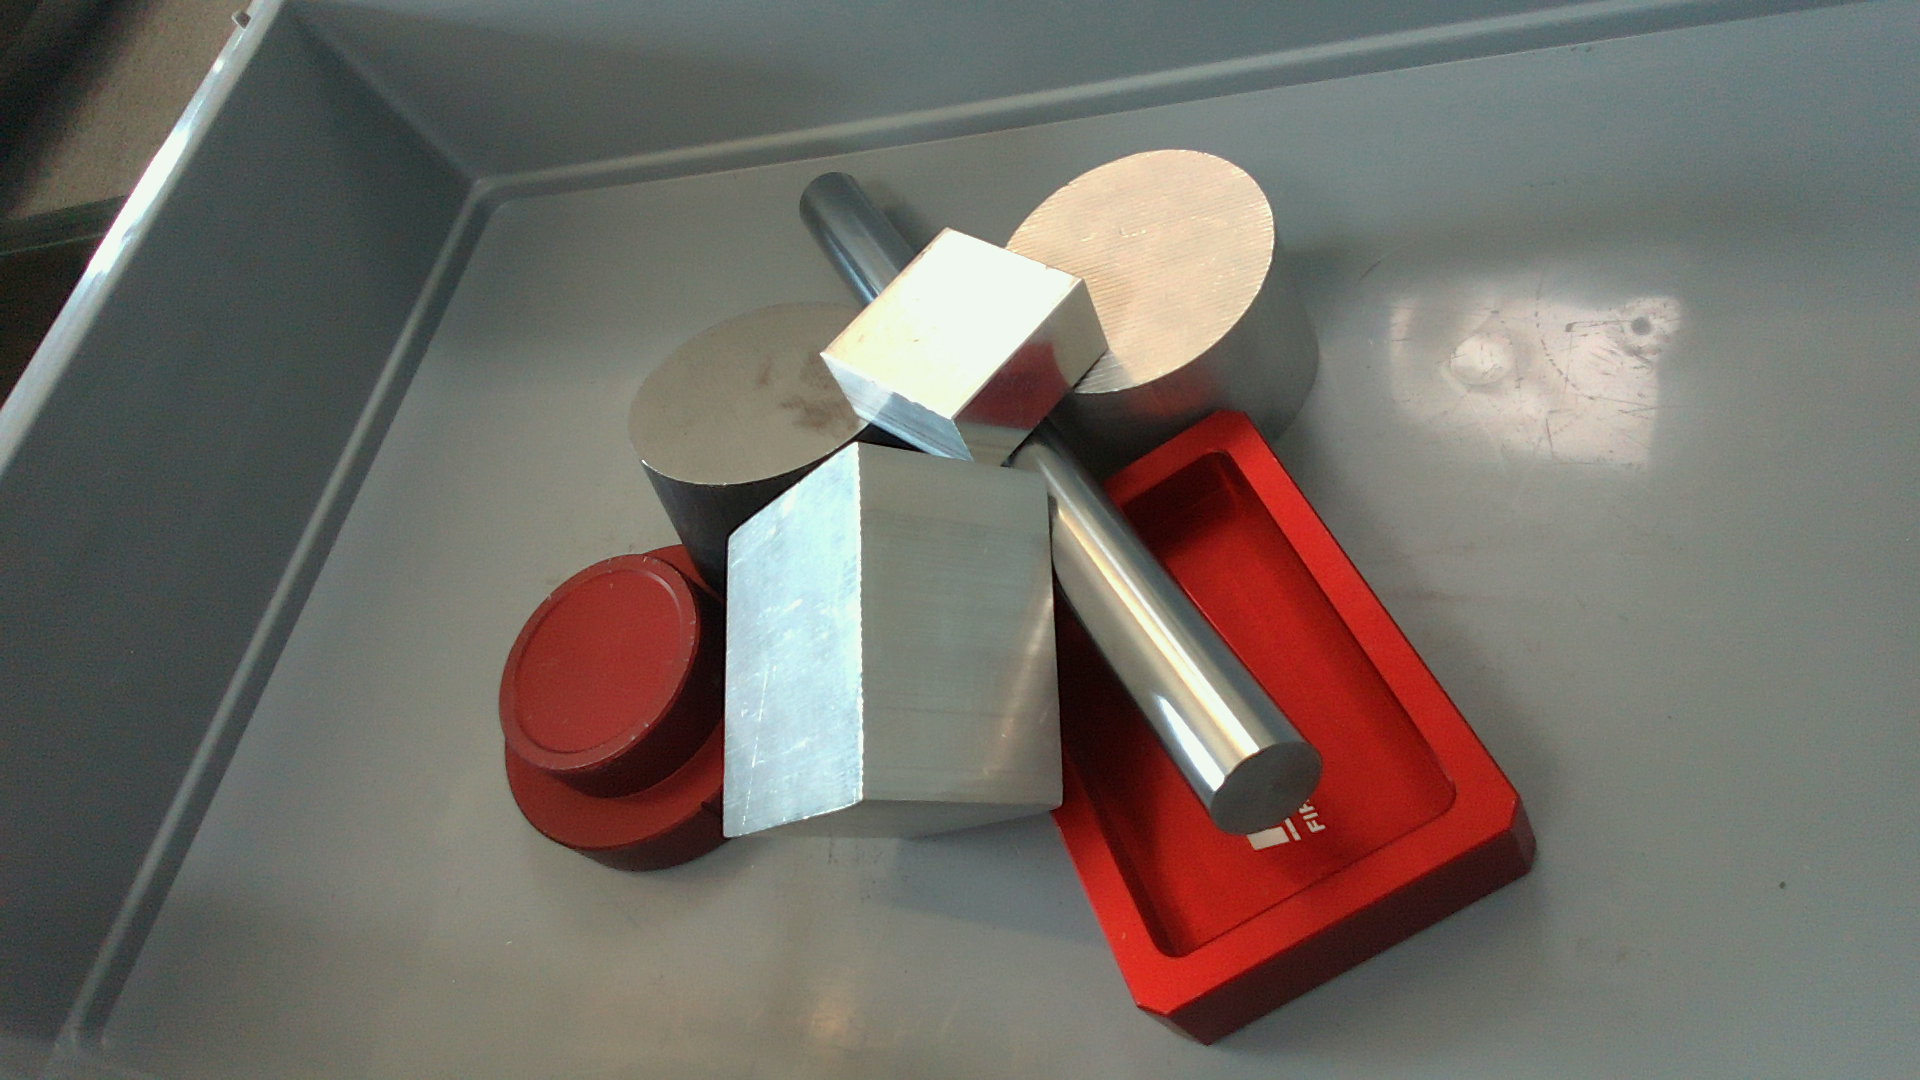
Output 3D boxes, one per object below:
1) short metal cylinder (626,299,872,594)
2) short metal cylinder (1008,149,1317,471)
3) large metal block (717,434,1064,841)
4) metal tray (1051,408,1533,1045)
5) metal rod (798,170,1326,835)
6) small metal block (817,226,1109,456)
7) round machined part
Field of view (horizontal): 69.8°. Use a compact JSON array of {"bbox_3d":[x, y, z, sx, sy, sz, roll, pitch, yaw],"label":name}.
[{"bbox_3d":[-0.051,-0.027,0.406,0.080,0.050,0.080,-9,44,9],"label":"short metal cylinder"},{"bbox_3d":[0.054,-0.061,0.385,0.080,0.050,0.080,-13,56,21],"label":"short metal cylinder"},{"bbox_3d":[-0.020,0.029,0.335,0.080,0.050,0.080,-28,59,55],"label":"large metal block"},{"bbox_3d":[0.061,0.040,0.331,0.090,0.030,0.130,-32,51,8],"label":"metal tray"},{"bbox_3d":[0.007,-0.036,0.378,0.025,0.025,0.299,-37,41,4],"label":"metal rod"},{"bbox_3d":[0.001,-0.049,0.354,0.050,0.025,0.050,29,70,38],"label":"small metal block"},{"bbox_3d":[-0.095,0.043,0.405,0.098,0.042,0.098,-13,56,21],"label":"round machined part"}]
